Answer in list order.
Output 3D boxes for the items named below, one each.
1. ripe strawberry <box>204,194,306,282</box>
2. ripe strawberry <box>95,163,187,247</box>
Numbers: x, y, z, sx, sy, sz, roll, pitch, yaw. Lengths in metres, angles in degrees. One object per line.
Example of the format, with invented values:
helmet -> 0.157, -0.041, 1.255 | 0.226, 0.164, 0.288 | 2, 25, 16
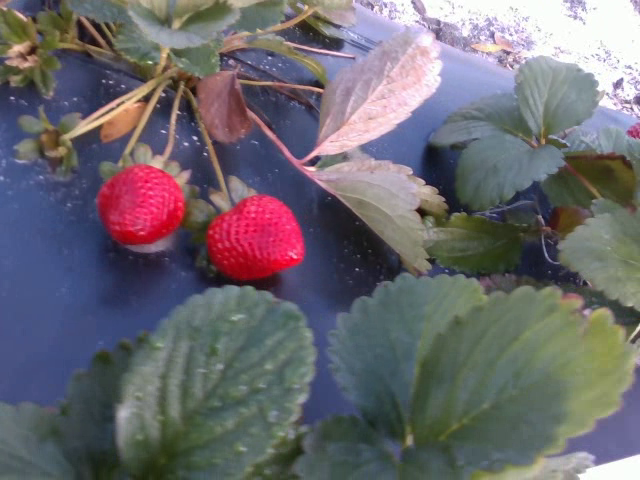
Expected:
ripe strawberry -> -0.031, -0.003, 0.309 | 0.057, 0.051, 0.064 | -24, 36, -29
ripe strawberry -> -0.092, -0.015, 0.307 | 0.048, 0.041, 0.056 | 8, 34, -12
